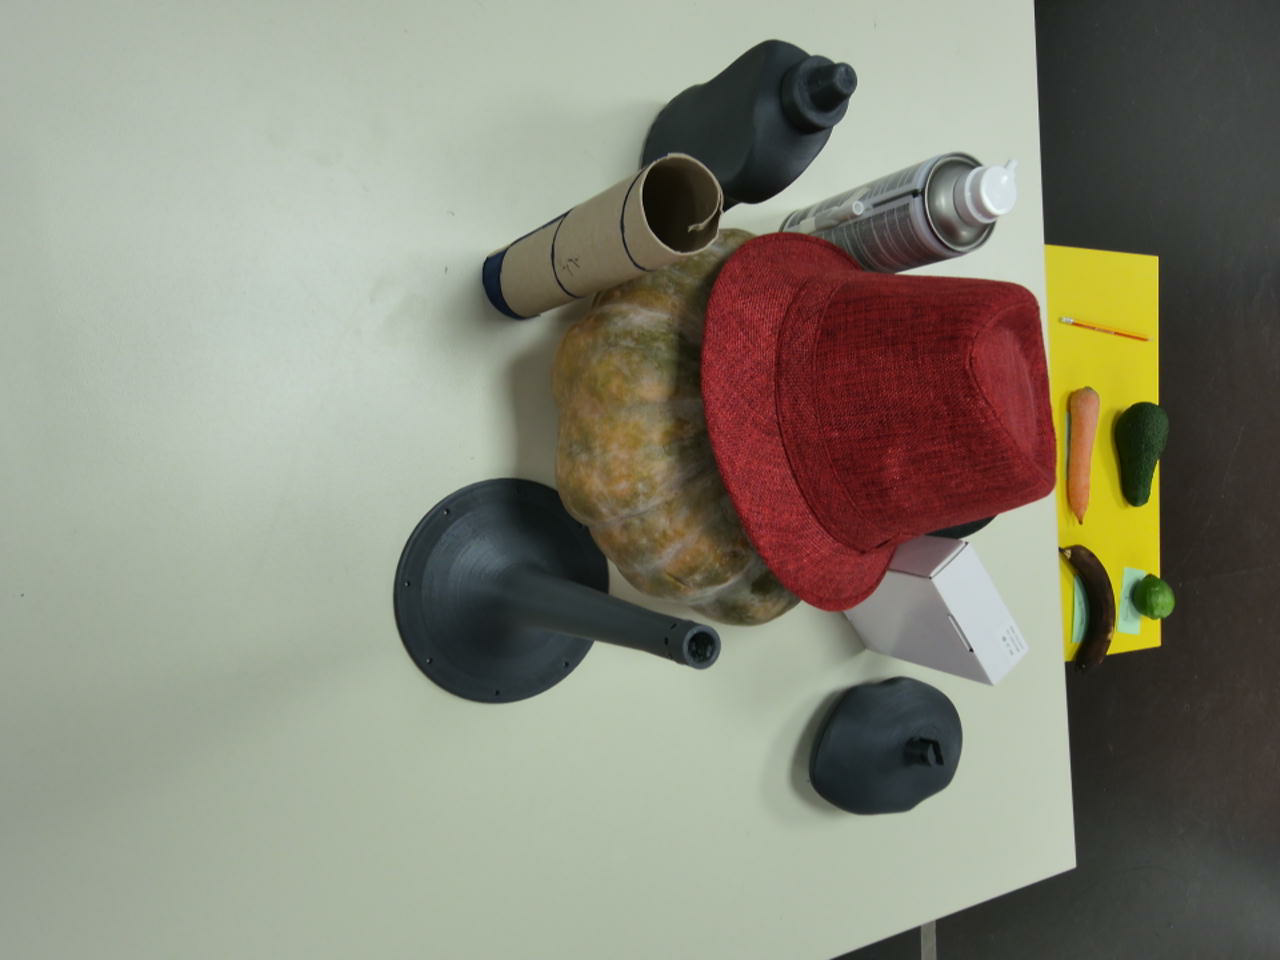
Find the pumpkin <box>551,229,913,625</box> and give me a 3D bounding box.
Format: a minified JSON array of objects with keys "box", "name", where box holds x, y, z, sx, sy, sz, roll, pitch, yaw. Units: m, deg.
[{"box":[0.059,-0.039,0.651,0.252,0.169,0.252,0,91,-28],"name":"pumpkin"}]
